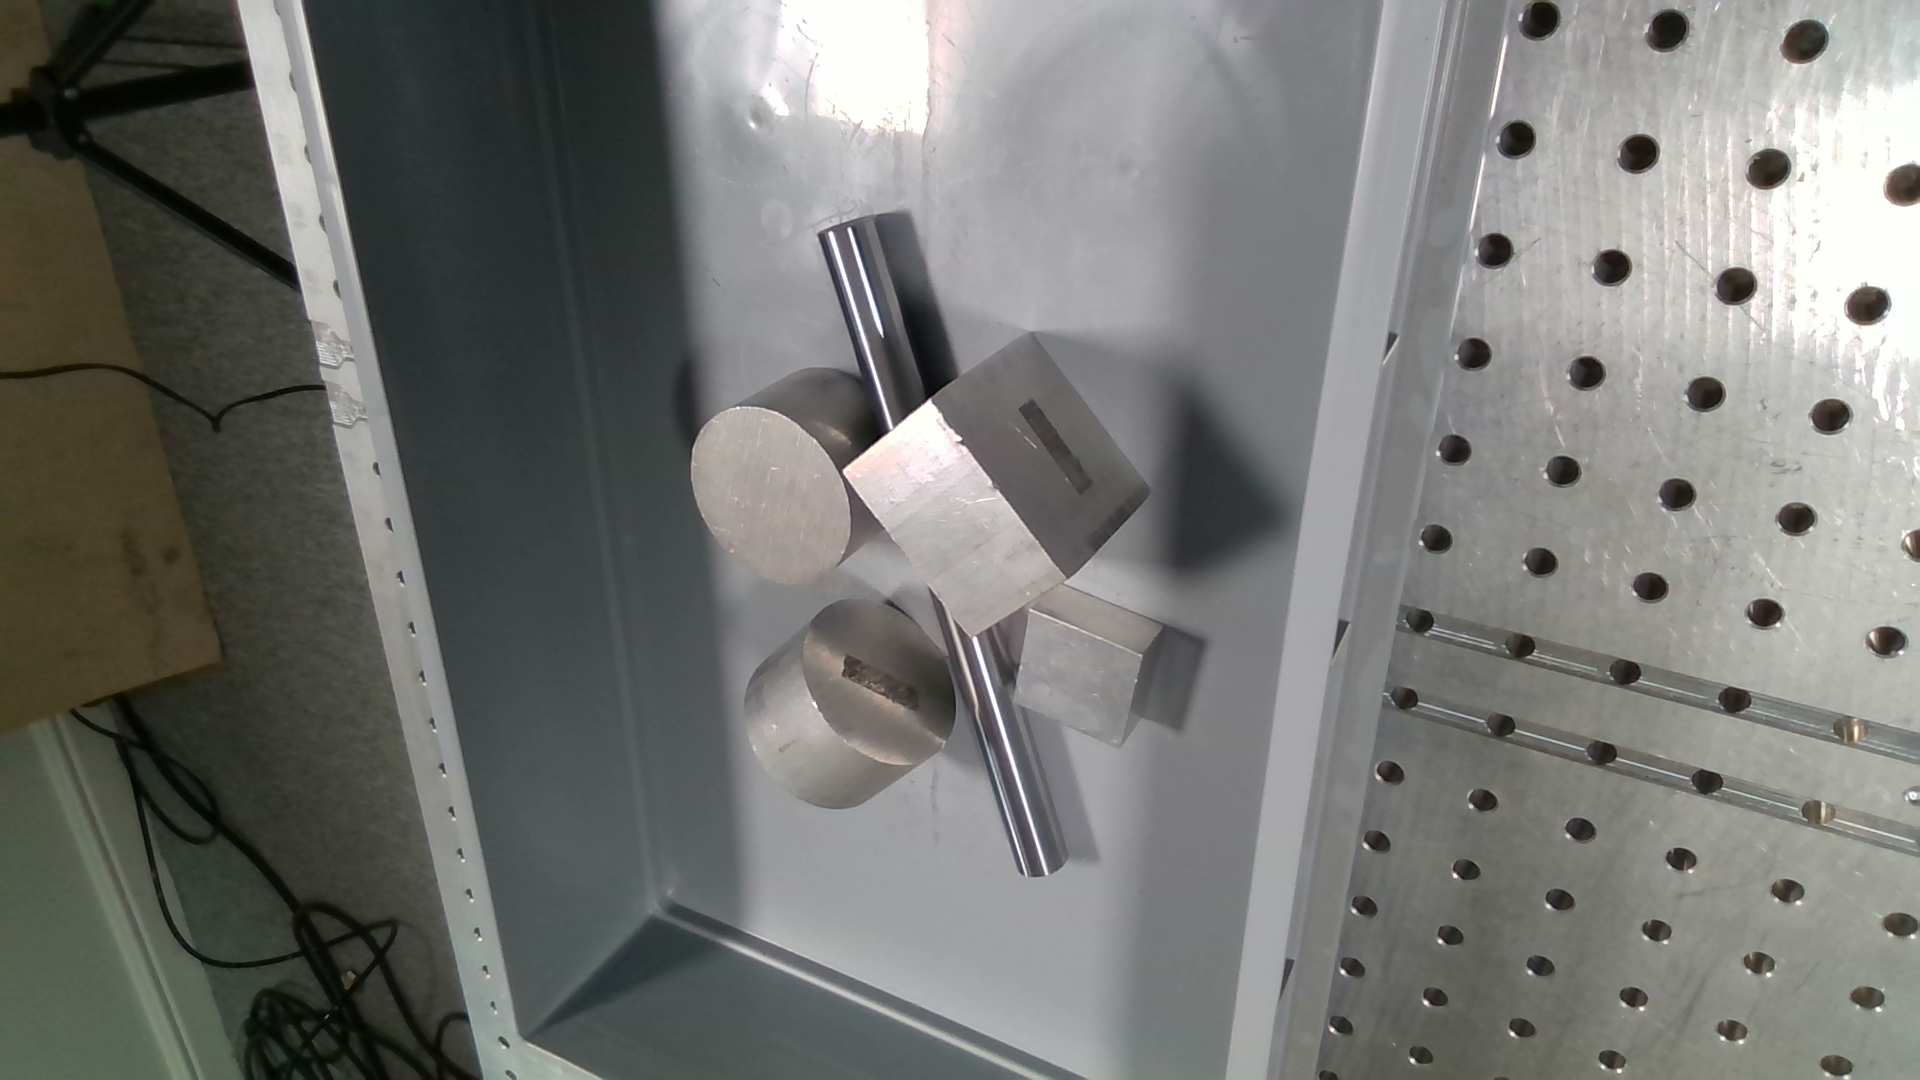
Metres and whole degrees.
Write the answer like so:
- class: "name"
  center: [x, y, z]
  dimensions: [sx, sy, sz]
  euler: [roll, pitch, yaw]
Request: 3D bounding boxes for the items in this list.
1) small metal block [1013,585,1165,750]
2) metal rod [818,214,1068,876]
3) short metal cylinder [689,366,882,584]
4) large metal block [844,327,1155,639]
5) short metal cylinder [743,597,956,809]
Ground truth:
- class: "small metal block"
  center: [0.053, 0.052, 0.574]
  dimensions: [0.050, 0.025, 0.050]
  euler: [22, 125, 20]
- class: "metal rod"
  center: [-0.003, 0.012, 0.587]
  dimensions: [0.025, 0.025, 0.301]
  euler: [-4, 113, 33]
- class: "short metal cylinder"
  center: [-0.068, -0.028, 0.588]
  dimensions: [0.080, 0.050, 0.080]
  euler: [14, 122, 25]
- class: "large metal block"
  center: [0.017, -0.023, 0.521]
  dimensions: [0.050, 0.080, 0.080]
  euler: [-35, 94, 39]
- class: "short metal cylinder"
  center: [-0.049, 0.073, 0.613]
  dimensions: [0.080, 0.080, 0.050]
  euler: [49, 129, -1]
